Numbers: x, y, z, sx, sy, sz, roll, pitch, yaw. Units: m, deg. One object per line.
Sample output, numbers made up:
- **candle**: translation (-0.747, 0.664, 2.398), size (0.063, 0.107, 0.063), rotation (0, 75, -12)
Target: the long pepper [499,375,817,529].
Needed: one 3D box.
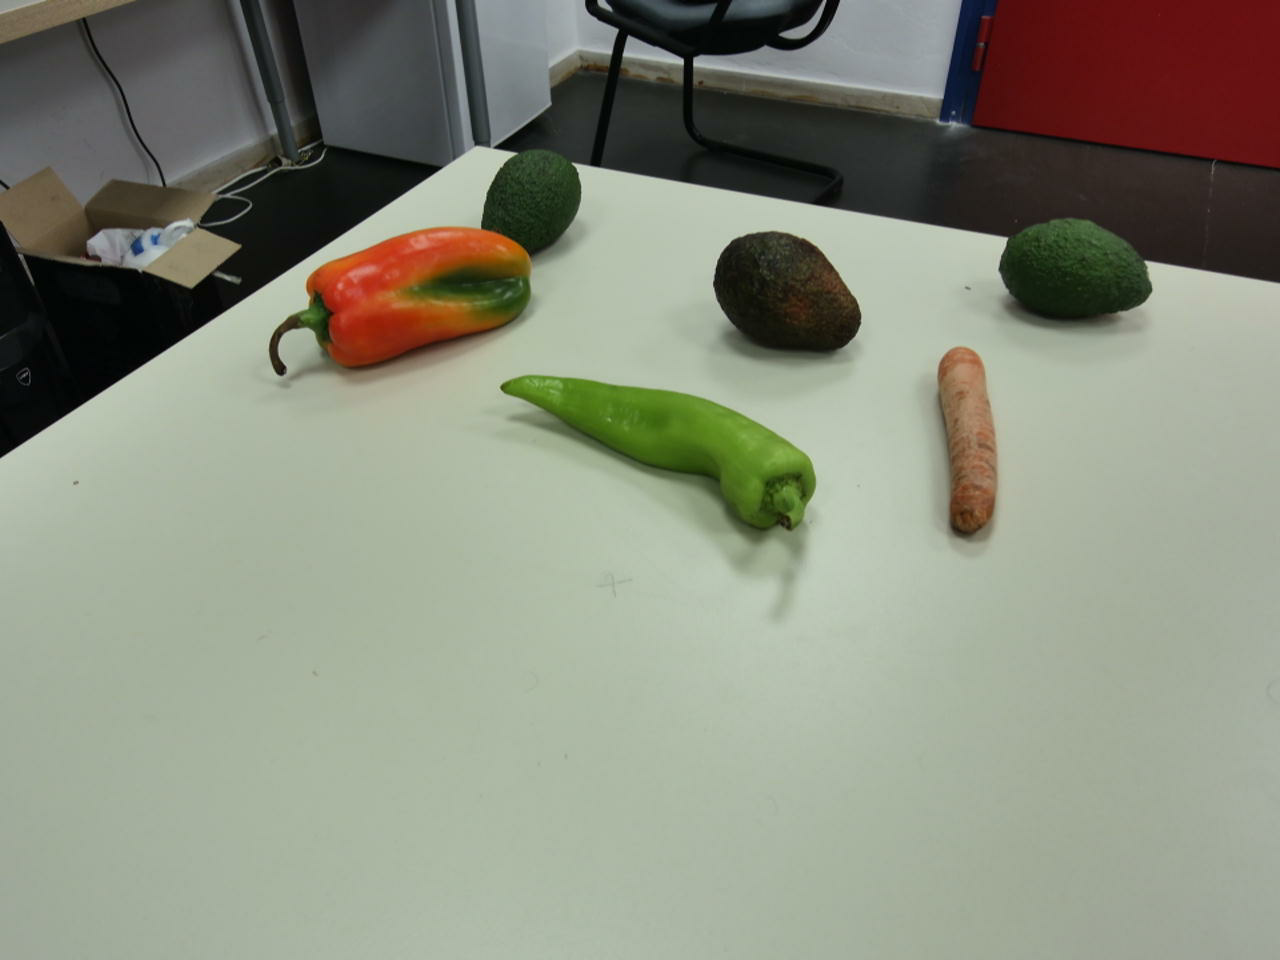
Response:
- **long pepper**: translation (0.016, -0.026, 0.551), size (0.205, 0.045, 0.065), rotation (28, 46, 32)
